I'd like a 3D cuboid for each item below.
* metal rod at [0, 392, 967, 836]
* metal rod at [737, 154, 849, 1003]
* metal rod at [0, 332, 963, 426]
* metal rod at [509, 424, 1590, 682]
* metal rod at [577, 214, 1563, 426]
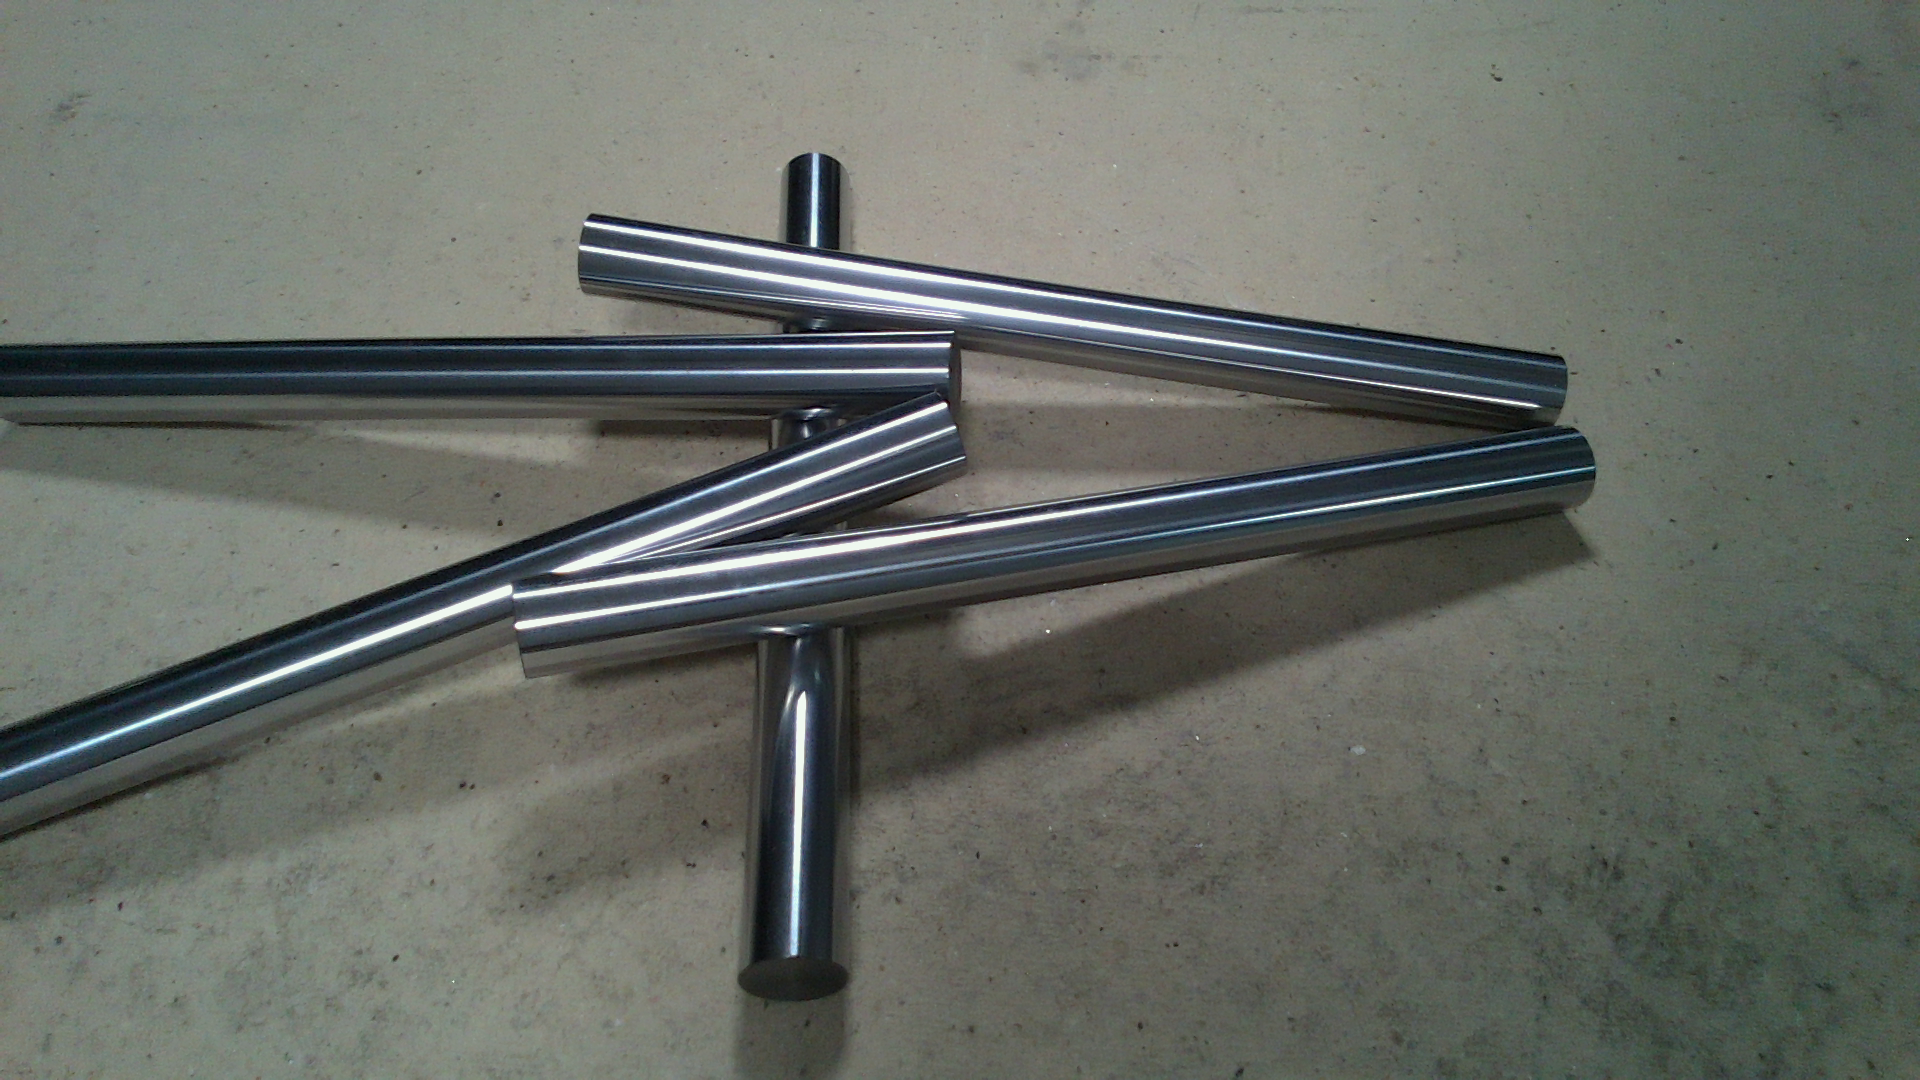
[{"bbox_3d":[-0.141,0.024,0.354,0.300,0.025,0.025,-21,53,-10],"label":"metal rod"},{"bbox_3d":[-0.045,-0.016,0.405,0.025,0.025,0.300,-2,50,-2],"label":"metal rod"},{"bbox_3d":[-0.149,-0.048,0.414,0.300,0.025,0.025,0,50,8],"label":"metal rod"},{"bbox_3d":[0.037,0.000,0.371,0.301,0.025,0.025,-9,50,-16],"label":"metal rod"},{"bbox_3d":[0.034,-0.067,0.427,0.300,0.025,0.025,8,50,-1],"label":"metal rod"}]
